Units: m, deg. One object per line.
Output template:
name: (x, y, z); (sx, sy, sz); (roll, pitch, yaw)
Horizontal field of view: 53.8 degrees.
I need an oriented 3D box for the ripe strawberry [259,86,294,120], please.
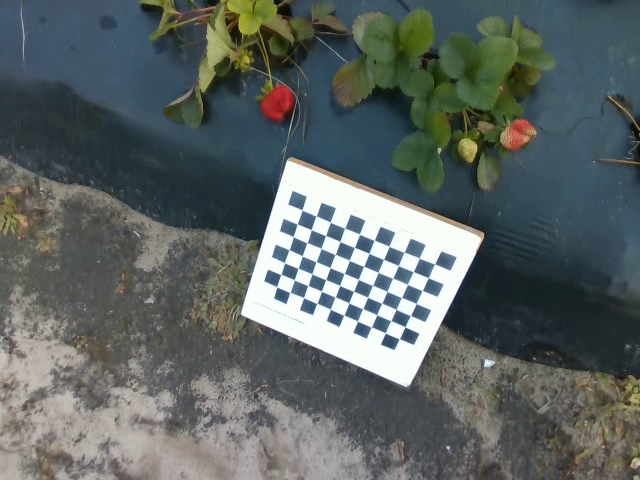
ripe strawberry: (-0.017, -0.052, 0.240); (0.013, 0.015, 0.017); (16, -51, -42)
